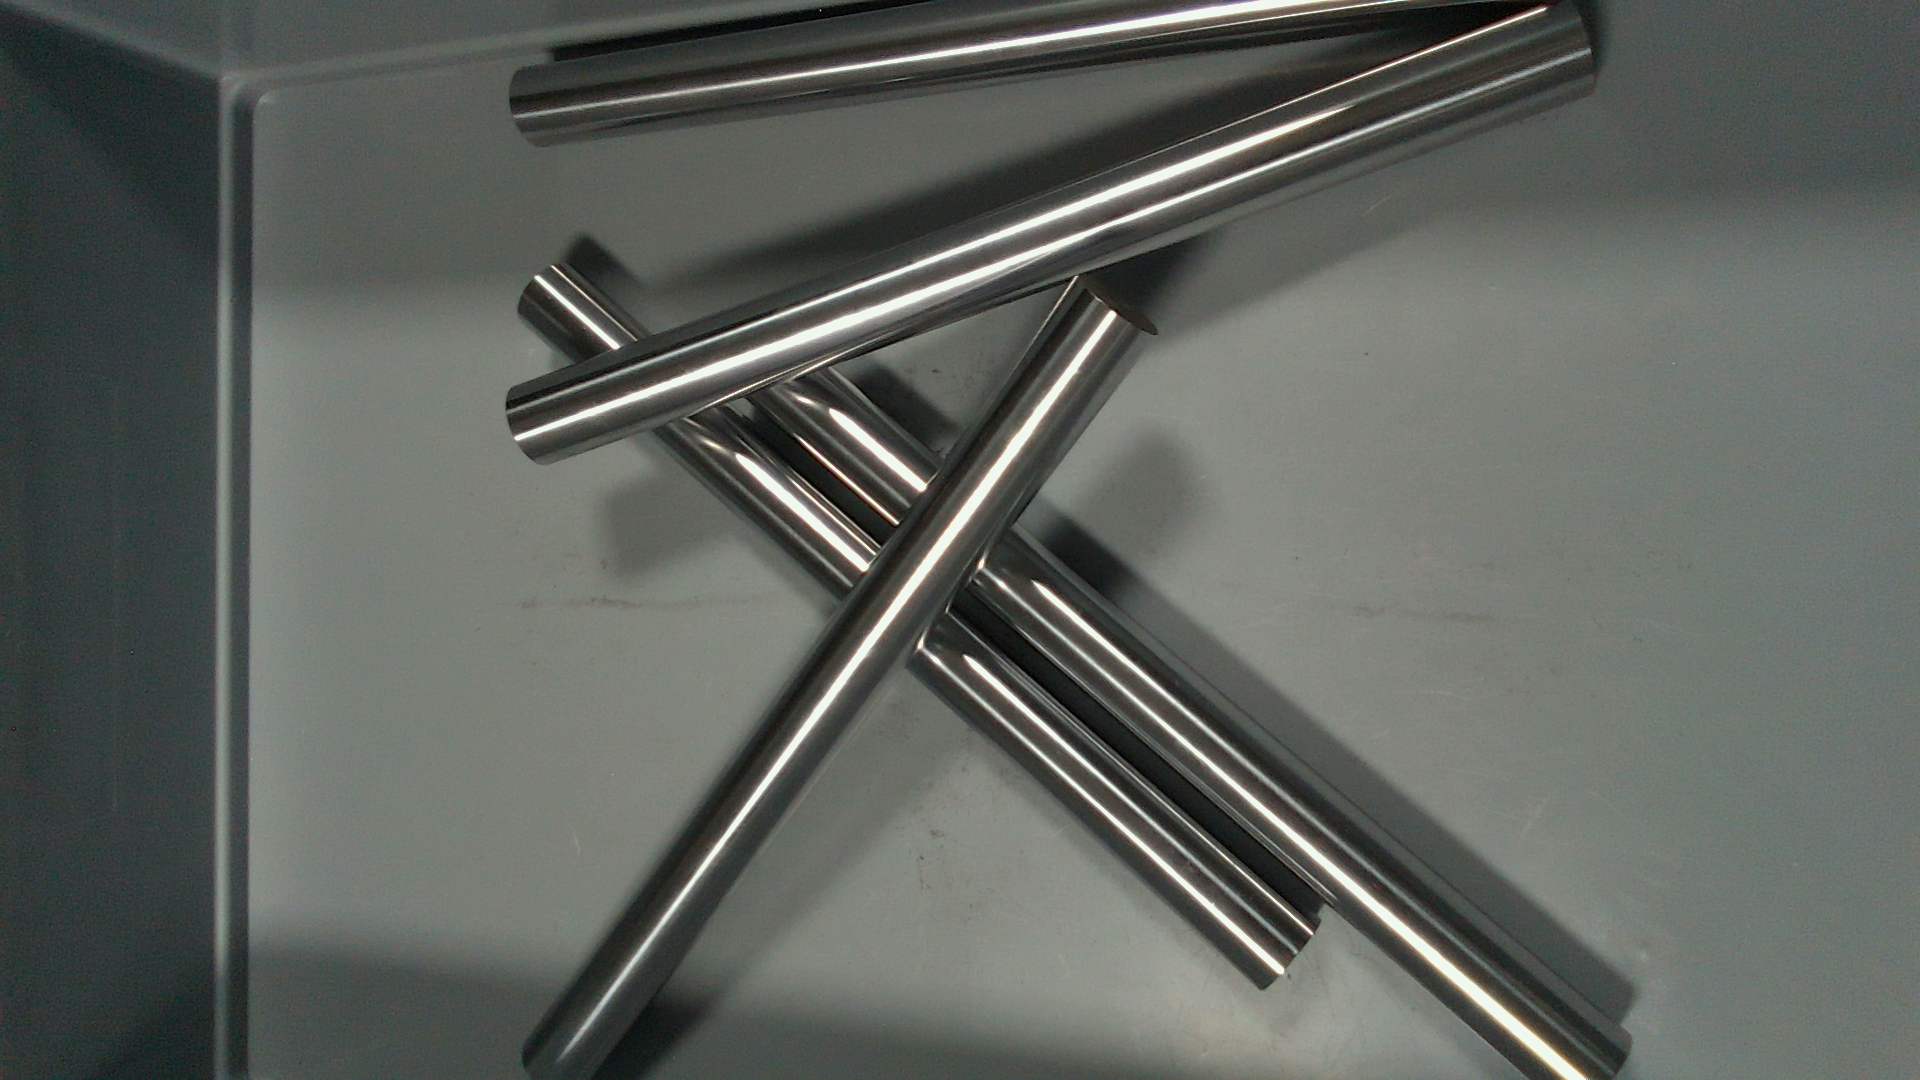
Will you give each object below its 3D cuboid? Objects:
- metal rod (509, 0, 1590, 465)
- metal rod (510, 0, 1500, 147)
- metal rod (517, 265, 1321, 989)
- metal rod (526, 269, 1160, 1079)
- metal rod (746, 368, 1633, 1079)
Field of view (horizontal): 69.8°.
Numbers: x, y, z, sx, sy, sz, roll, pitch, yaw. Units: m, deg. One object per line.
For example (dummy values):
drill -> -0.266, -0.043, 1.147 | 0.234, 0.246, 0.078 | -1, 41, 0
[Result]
metal rod -> 0.013, -0.080, 0.374 | 0.299, 0.025, 0.025 | -18, 84, 13
metal rod -> 0.003, -0.143, 0.394 | 0.299, 0.025, 0.025 | -1, 90, 20
metal rod -> -0.022, 0.015, 0.404 | 0.300, 0.025, 0.025 | 40, 103, 15
metal rod -> -0.044, 0.054, 0.390 | 0.025, 0.025, 0.299 | 42, 111, 15
metal rod -> 0.047, 0.037, 0.379 | 0.300, 0.025, 0.025 | 40, 103, 15
